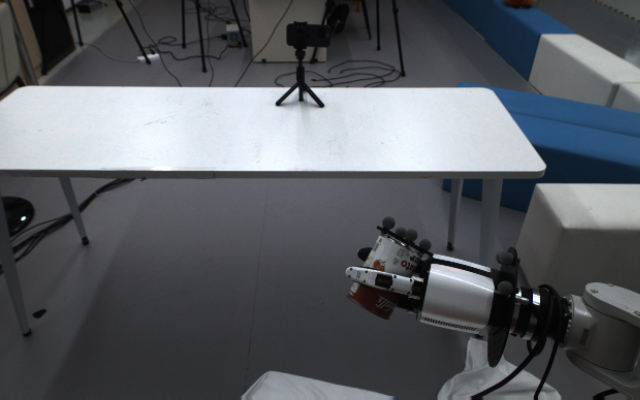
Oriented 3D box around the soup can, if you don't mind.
[{"bbox_3d":[0.092,0.105,0.671,0.067,0.101,0.067,28,-3,2],"label":"soup can"}]
